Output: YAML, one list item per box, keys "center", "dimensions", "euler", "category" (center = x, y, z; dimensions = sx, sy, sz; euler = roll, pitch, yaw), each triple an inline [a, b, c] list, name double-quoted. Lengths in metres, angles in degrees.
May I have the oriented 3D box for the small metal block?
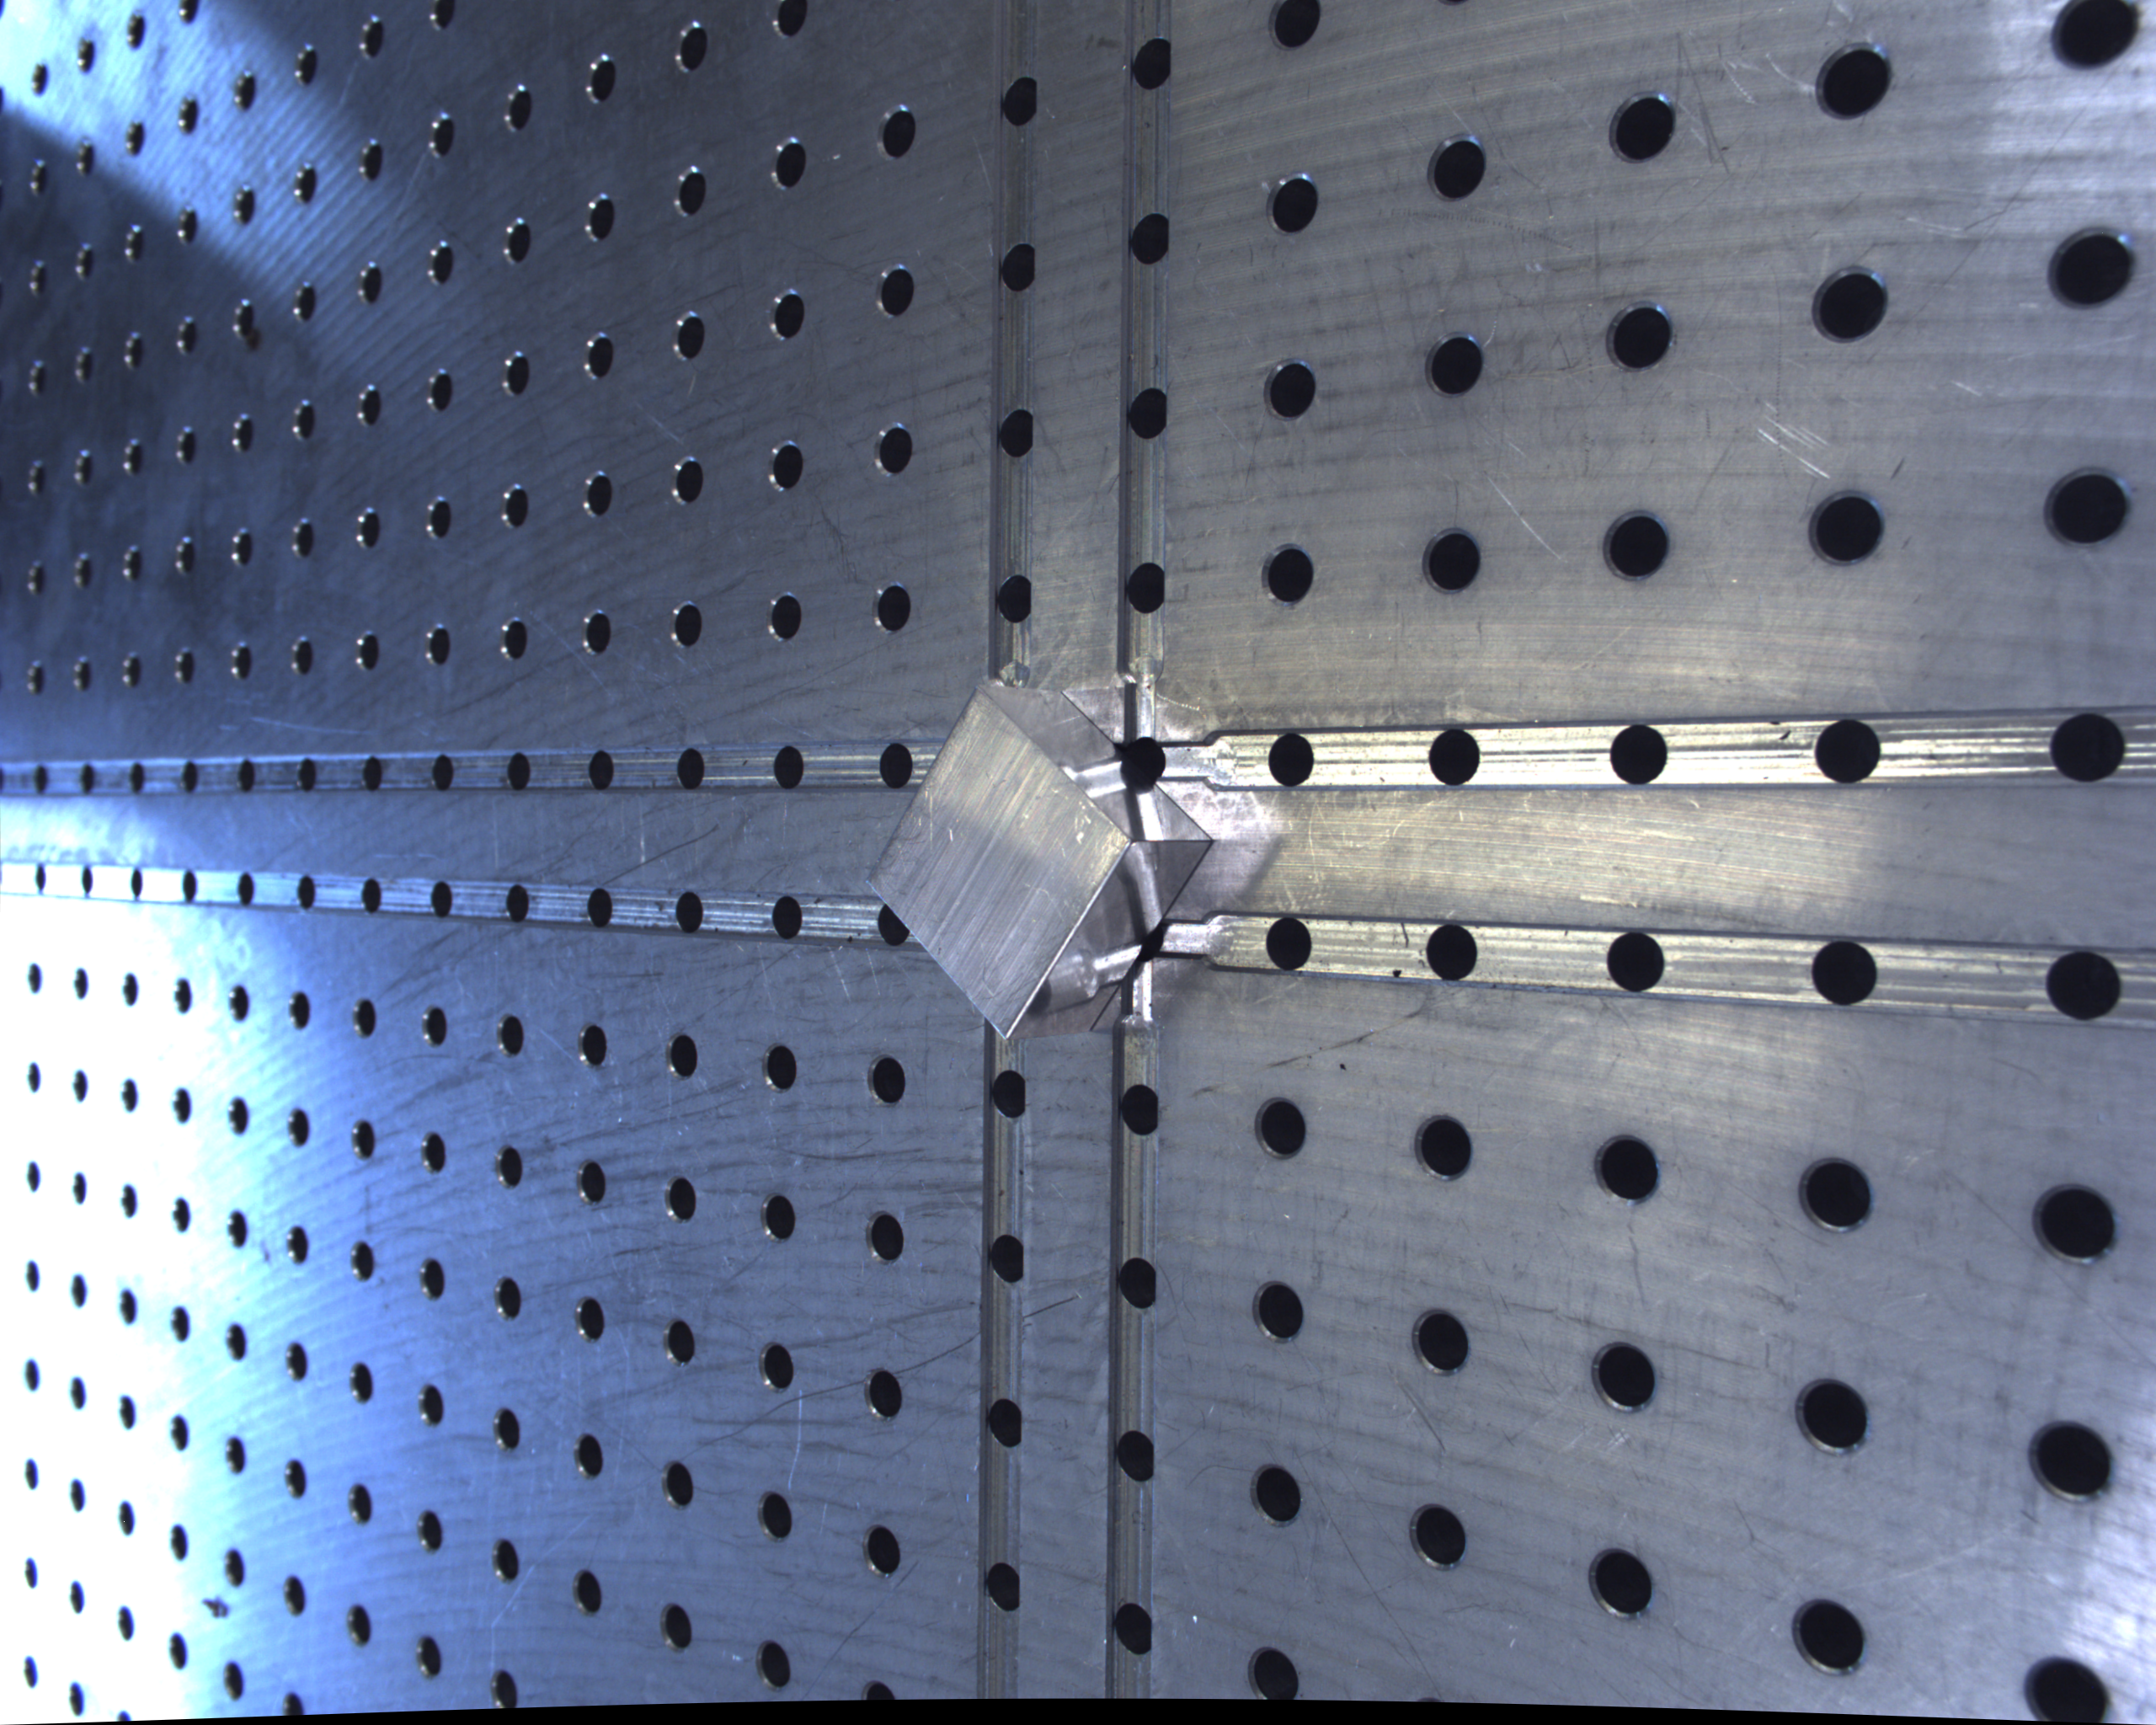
- center: [-0.009, 0.000, 0.418]
  dimensions: [0.050, 0.025, 0.050]
  euler: [46, 118, 30]
  category: "small metal block"
